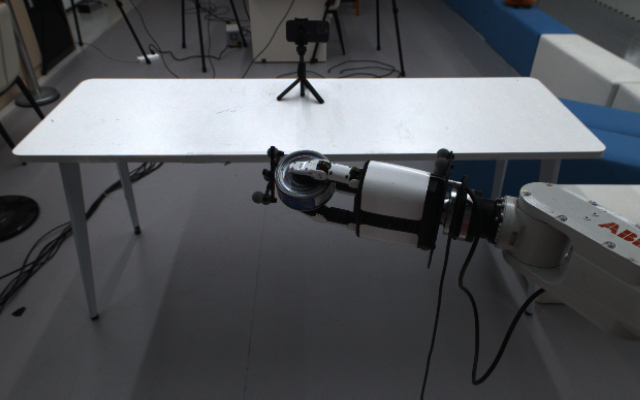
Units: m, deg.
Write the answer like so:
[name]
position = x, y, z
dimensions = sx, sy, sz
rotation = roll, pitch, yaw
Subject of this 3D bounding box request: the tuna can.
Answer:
[tuna can]
position = -0.019, -0.030, 0.690
dimensions = 0.085, 0.034, 0.085
rotation = -2, 57, 3
